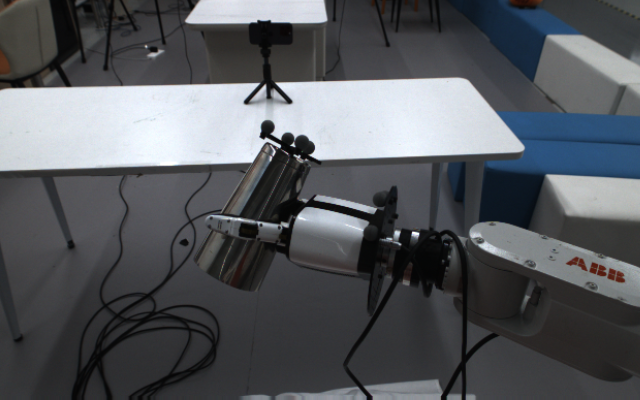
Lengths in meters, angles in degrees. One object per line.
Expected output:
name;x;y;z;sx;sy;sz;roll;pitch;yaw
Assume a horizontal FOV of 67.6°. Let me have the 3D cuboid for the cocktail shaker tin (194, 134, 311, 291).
cocktail shaker tin;-0.078;0.016;0.611;0.093;0.170;0.093;27;2;-1
